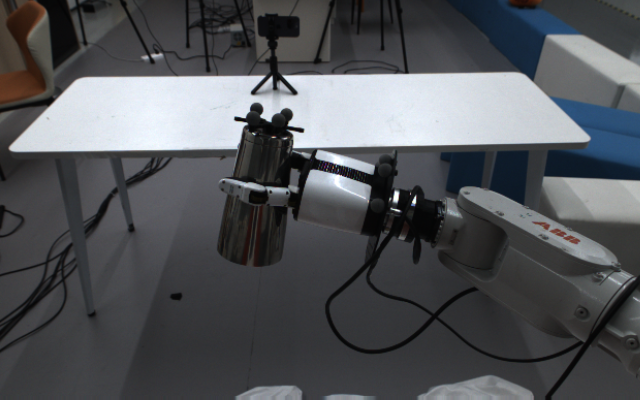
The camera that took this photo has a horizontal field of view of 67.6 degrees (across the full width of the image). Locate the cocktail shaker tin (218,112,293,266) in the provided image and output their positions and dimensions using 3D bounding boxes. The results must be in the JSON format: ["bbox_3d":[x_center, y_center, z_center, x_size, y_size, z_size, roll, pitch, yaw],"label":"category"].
[{"bbox_3d":[-0.080,-0.009,0.643,0.093,0.170,0.093,10,19,-4],"label":"cocktail shaker tin"}]
